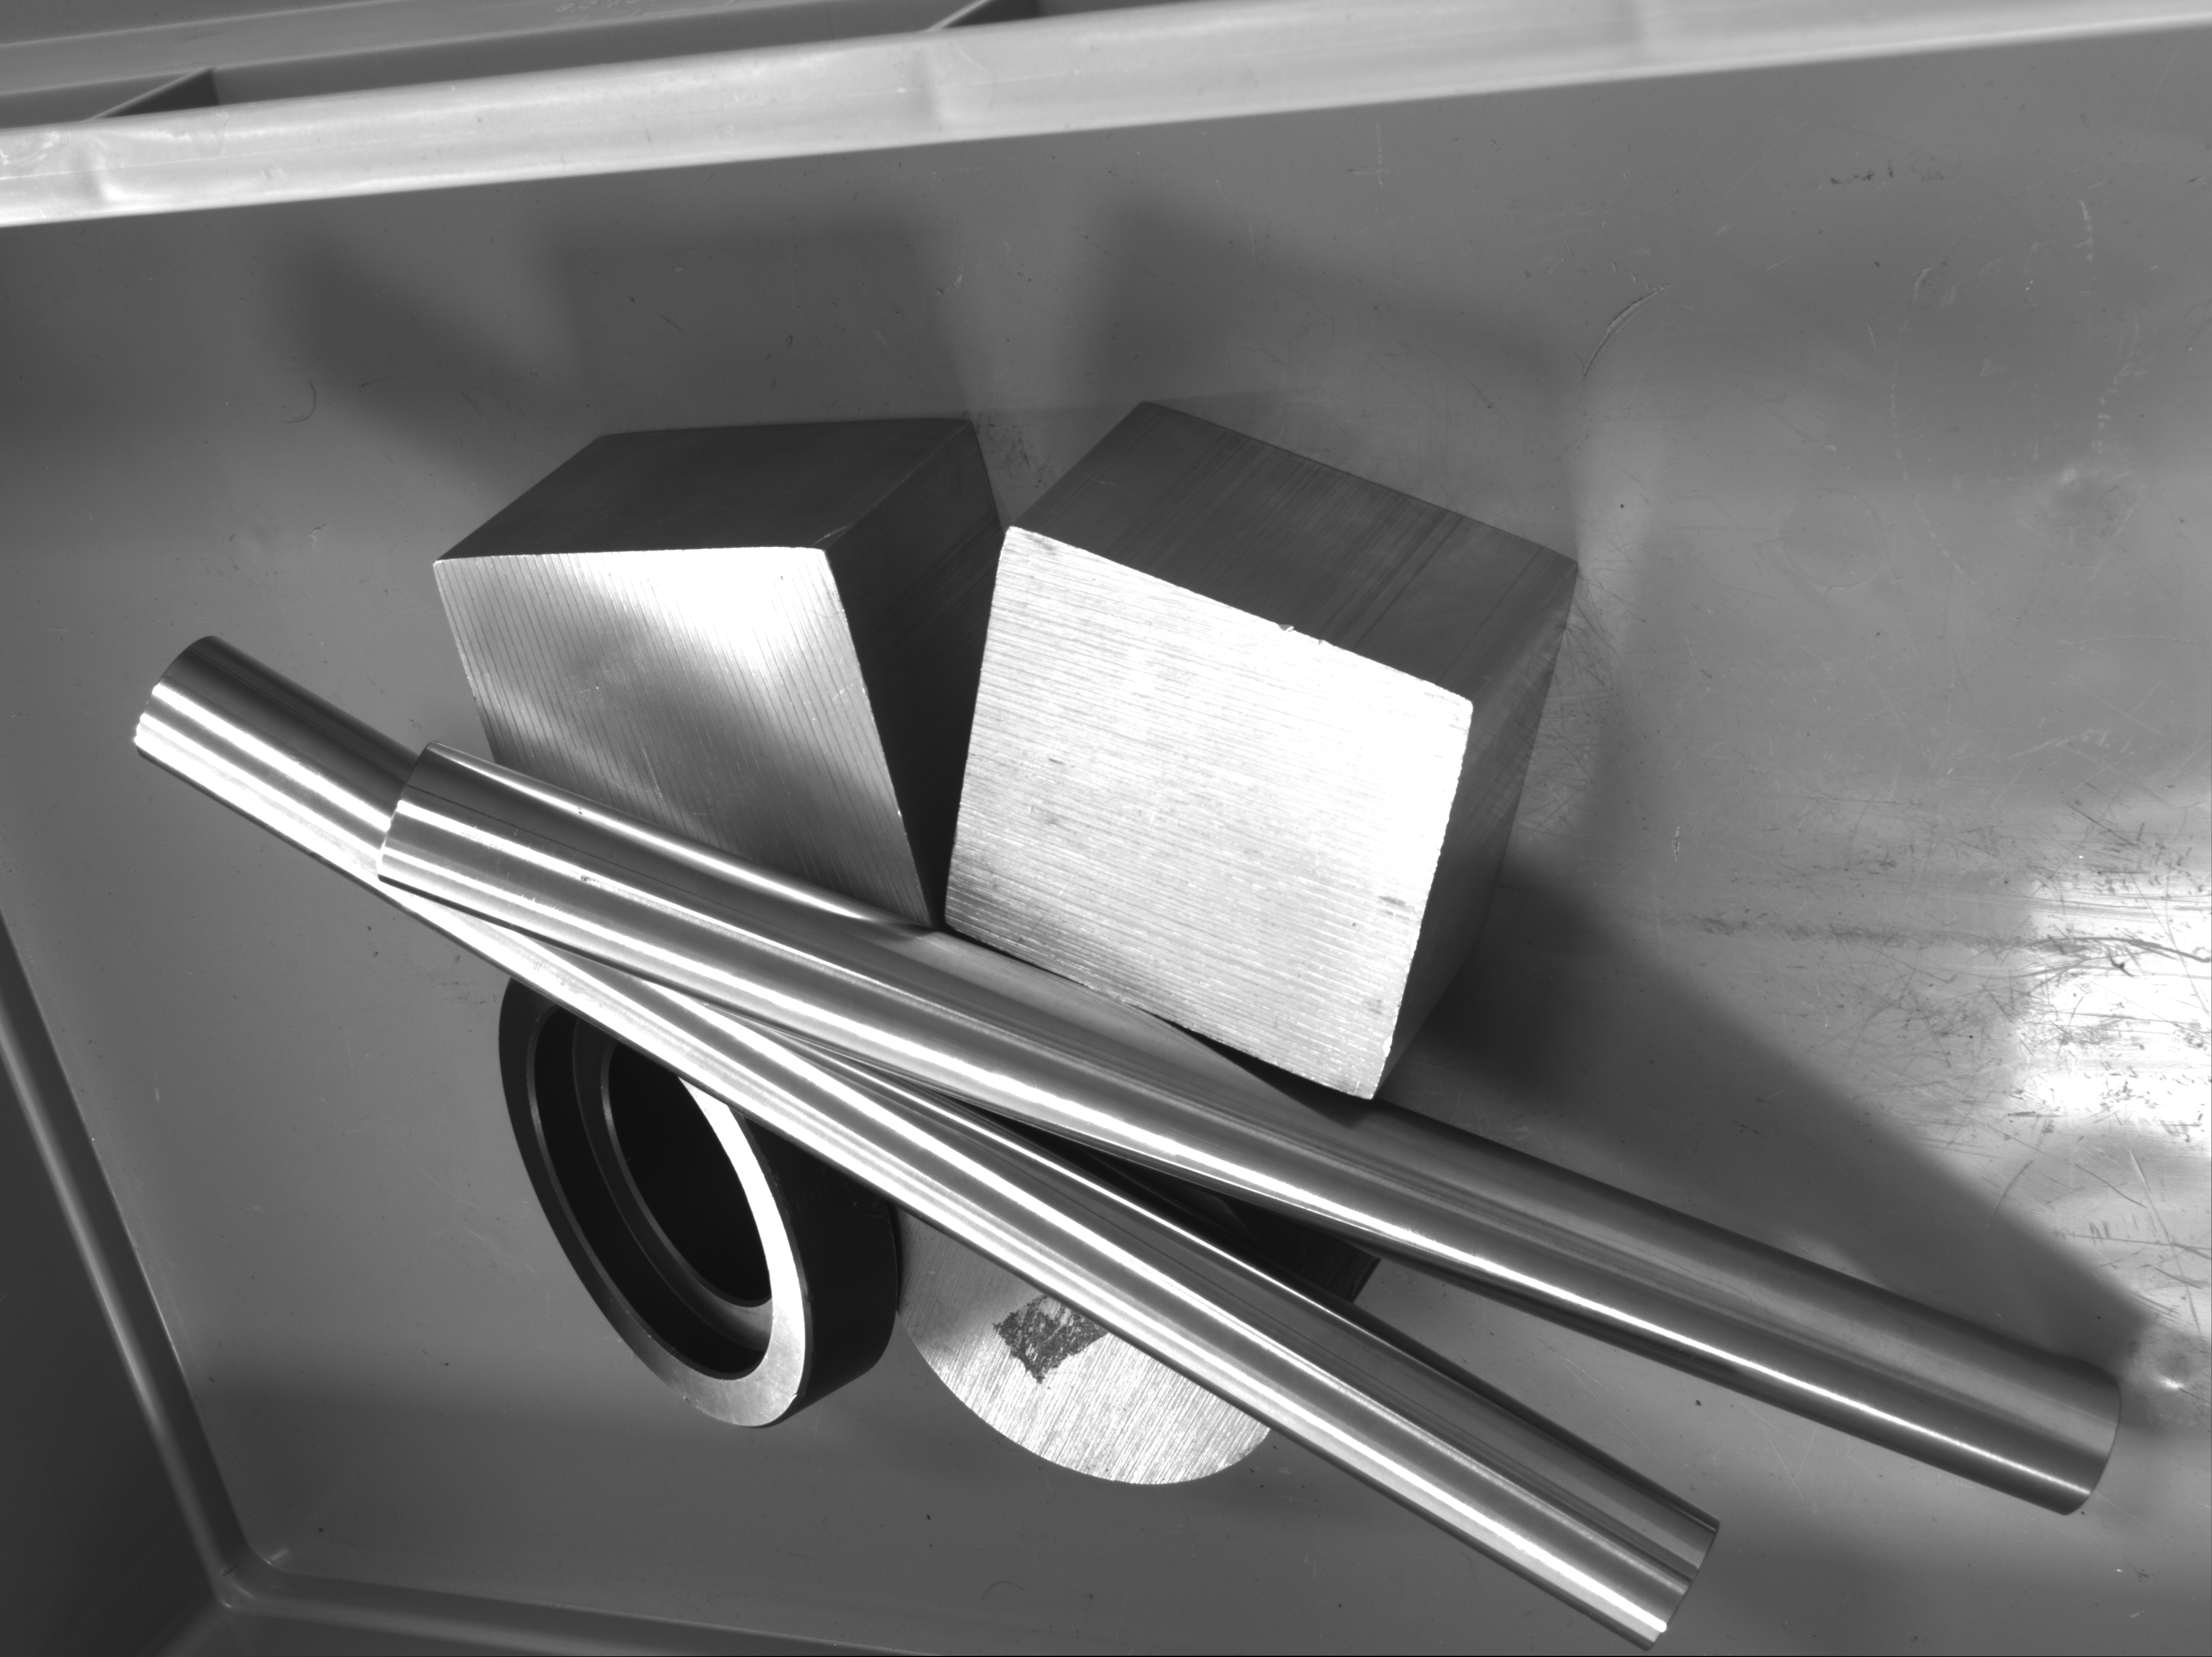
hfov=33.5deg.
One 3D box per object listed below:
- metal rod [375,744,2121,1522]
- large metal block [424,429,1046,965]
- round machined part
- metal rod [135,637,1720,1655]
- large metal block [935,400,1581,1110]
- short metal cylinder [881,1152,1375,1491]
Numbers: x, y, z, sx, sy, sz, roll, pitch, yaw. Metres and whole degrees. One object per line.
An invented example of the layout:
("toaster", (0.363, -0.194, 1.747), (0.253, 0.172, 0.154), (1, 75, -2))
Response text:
("metal rod", (0.024, 0.051, 0.611), (0.300, 0.025, 0.025), (21, 128, -2))
("large metal block", (-0.061, -0.021, 0.641), (0.080, 0.050, 0.080), (1, 119, 28))
("round machined part", (-0.069, 0.059, 0.689), (0.098, 0.042, 0.098), (33, 137, 38))
("metal rod", (-0.034, 0.051, 0.624), (0.300, 0.025, 0.025), (30, 128, 8))
("large metal block", (0.024, -0.013, 0.603), (0.080, 0.050, 0.080), (22, 127, 15))
("short metal cylinder", (0.006, 0.072, 0.665), (0.080, 0.050, 0.080), (13, 124, 21))
